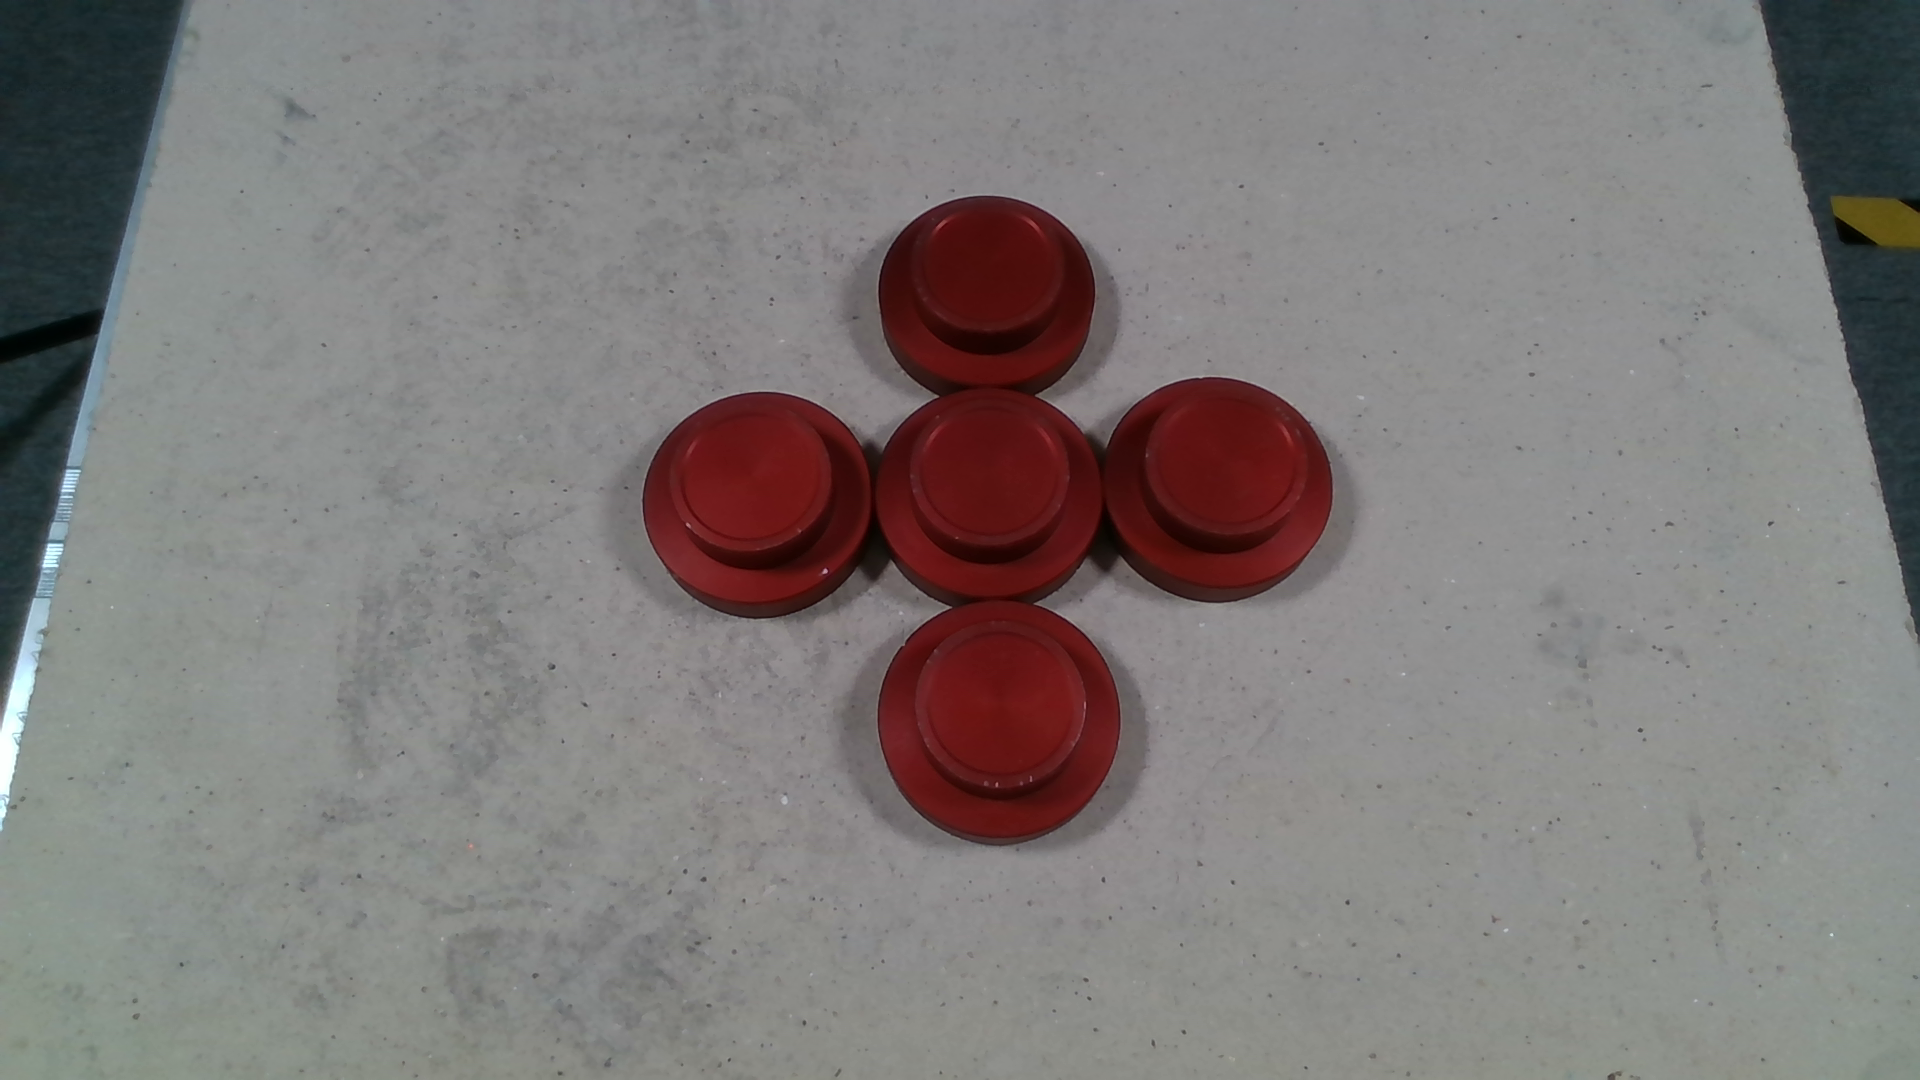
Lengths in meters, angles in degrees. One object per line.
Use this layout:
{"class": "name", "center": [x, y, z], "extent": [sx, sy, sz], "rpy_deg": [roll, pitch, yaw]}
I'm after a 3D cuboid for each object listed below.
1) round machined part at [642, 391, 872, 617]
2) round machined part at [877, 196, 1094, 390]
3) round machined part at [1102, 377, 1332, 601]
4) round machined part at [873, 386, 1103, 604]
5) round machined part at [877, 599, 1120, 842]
{"class": "round machined part", "center": [-0.087, -0.020, 0.586], "extent": [0.098, 0.042, 0.098], "rpy_deg": [0, 70, 0]}
{"class": "round machined part", "center": [0.011, -0.114, 0.620], "extent": [0.098, 0.042, 0.098], "rpy_deg": [0, 70, 0]}
{"class": "round machined part", "center": [0.110, -0.026, 0.589], "extent": [0.098, 0.042, 0.098], "rpy_deg": [0, 70, 0]}
{"class": "round machined part", "center": [0.012, -0.022, 0.587], "extent": [0.098, 0.042, 0.098], "rpy_deg": [0, 70, 0]}
{"class": "round machined part", "center": [0.015, 0.070, 0.554], "extent": [0.098, 0.042, 0.098], "rpy_deg": [0, 70, 0]}
